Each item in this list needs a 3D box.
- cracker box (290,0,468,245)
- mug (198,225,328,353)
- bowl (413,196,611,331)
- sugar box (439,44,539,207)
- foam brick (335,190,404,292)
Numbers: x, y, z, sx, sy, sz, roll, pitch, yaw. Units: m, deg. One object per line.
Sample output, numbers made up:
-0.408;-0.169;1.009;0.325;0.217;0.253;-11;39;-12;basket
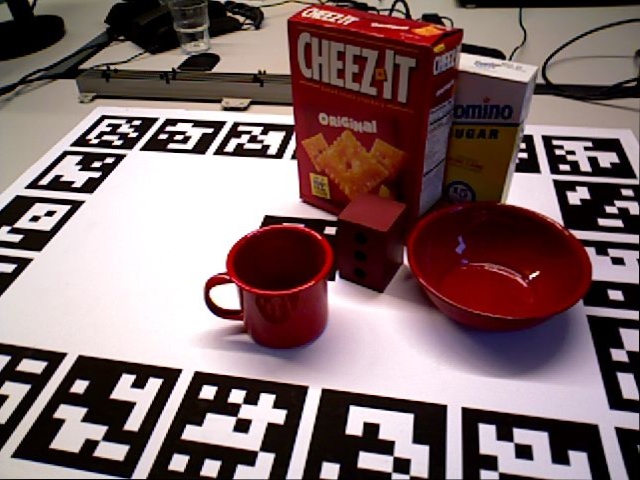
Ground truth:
0.049;-0.119;0.563;0.164;0.218;0.070;28;46;31;cracker box
-0.049;0.043;0.472;0.117;0.083;0.091;-2;31;5;mug
0.162;0.028;0.483;0.161;0.056;0.159;-3;40;1;bowl
0.160;-0.104;0.563;0.093;0.180;0.044;20;44;26;sugar box
0.048;0.001;0.532;0.053;0.080;0.050;16;42;22;foam brick
